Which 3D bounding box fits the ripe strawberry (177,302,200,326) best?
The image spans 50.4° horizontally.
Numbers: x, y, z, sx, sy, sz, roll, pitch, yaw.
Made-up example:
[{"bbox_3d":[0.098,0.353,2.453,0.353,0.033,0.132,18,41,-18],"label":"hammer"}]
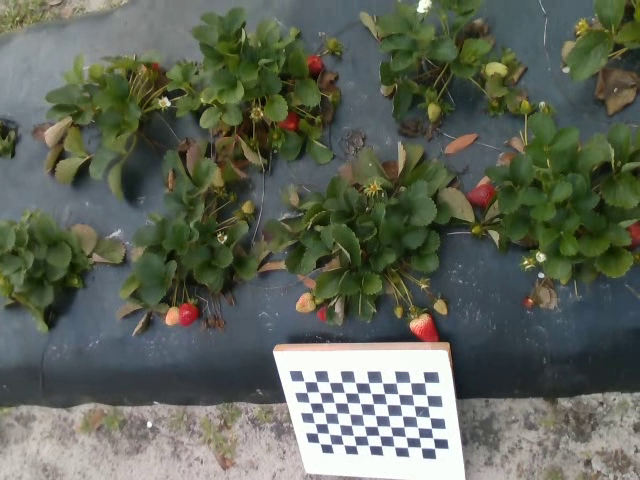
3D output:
[{"bbox_3d":[-0.221,0.123,1.091,0.034,0.042,0.033,24,-28,5],"label":"ripe strawberry"}]
